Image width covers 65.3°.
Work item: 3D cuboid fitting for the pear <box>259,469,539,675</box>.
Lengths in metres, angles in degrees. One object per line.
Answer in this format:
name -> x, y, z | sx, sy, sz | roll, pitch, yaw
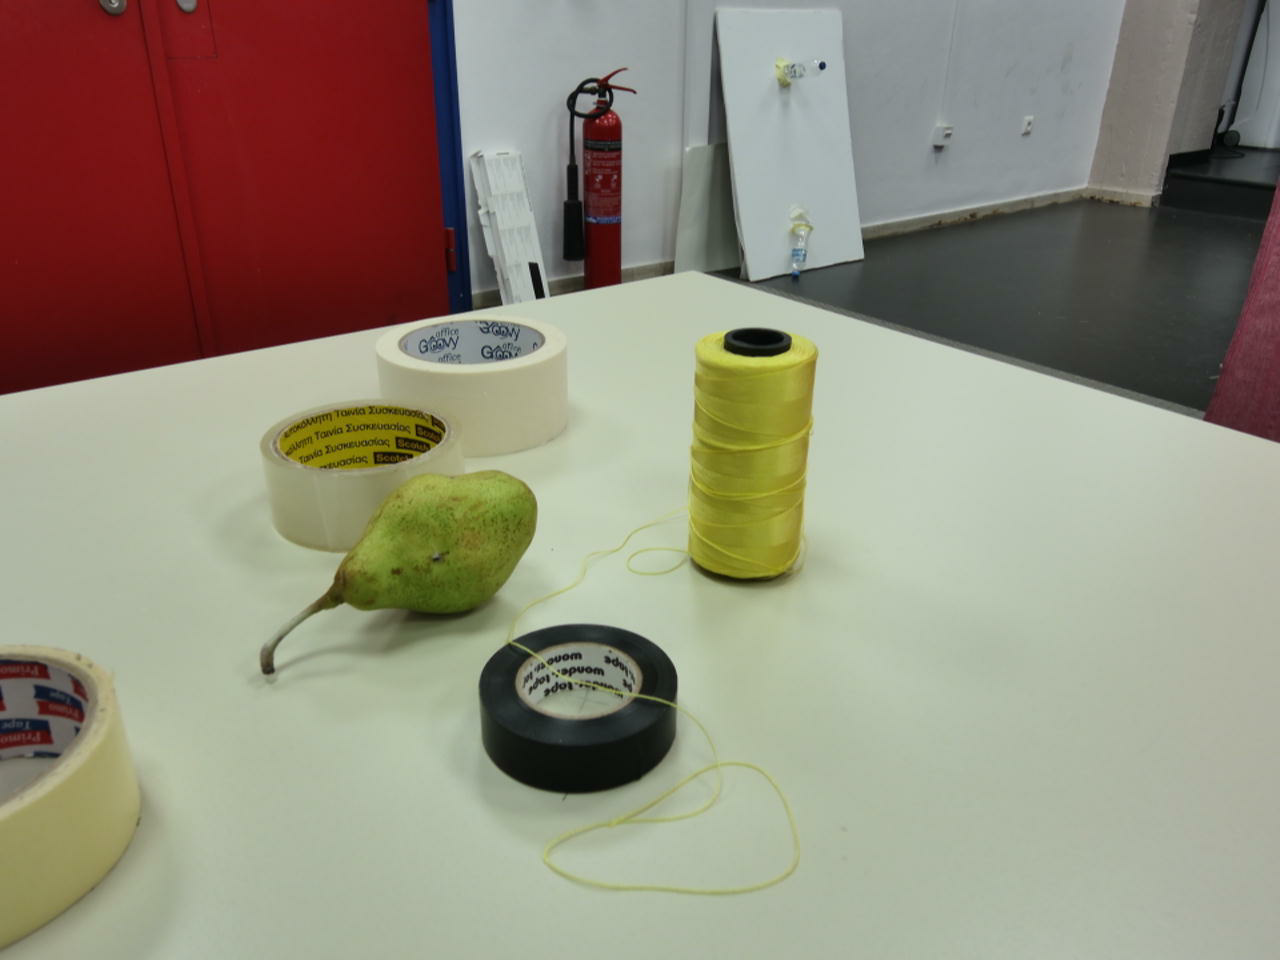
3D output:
pear -> -0.093, 0.028, 0.384 | 0.111, 0.056, 0.056 | -10, 25, -22
